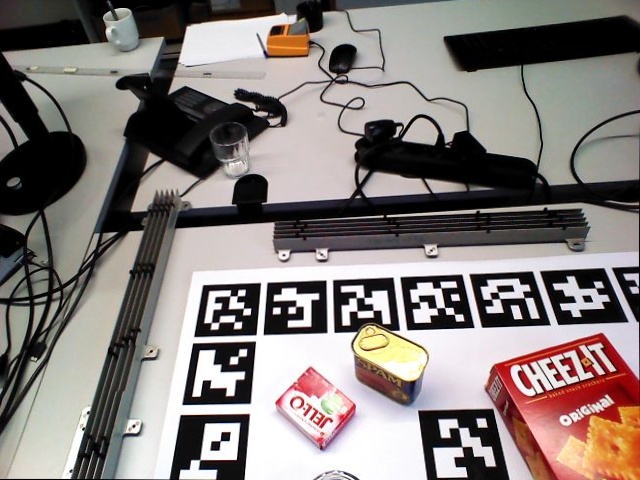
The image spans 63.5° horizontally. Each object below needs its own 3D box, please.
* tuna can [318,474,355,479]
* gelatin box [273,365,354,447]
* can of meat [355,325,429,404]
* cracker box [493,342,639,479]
[{"bbox_3d":[0.021,0.331,0.622,0.086,0.034,0.085,-4,51,5],"label":"tuna can"},{"bbox_3d":[-0.009,0.230,0.723,0.089,0.030,0.073,34,57,28],"label":"gelatin box"},{"bbox_3d":[0.102,0.178,0.730,0.102,0.084,0.057,21,53,25],"label":"can of meat"},{"bbox_3d":[0.342,0.247,0.642,0.164,0.072,0.213,-14,46,-8],"label":"cracker box"}]
